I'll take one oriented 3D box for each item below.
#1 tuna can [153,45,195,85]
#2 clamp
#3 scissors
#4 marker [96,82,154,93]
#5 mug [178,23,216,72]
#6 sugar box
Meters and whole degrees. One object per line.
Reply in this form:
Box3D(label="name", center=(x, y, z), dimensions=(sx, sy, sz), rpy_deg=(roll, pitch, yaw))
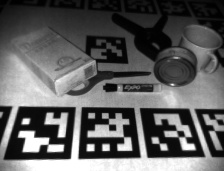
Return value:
Box3D(label="tuna can", center=(0.129, -0.041, 0.455), dimensions=(0.085, 0.086, 0.034), rpy_deg=(14, 51, 4))
Box3D(label="clamp", center=(0.089, -0.133, 0.567), dimensions=(0.166, 0.037, 0.201), rpy_deg=(-7, 54, -13))
Box3D(label="scissors", center=(-0.020, -0.030, 0.465), dimensions=(0.204, 0.016, 0.087), rpy_deg=(-7, 49, -15))
Box3D(label="marker", center=(0.027, 0.005, 0.447), dimensions=(0.121, 0.020, 0.019), rpy_deg=(-2, 53, -9))
Box3D(label="mug", center=(0.186, -0.079, 0.499), dimensions=(0.094, 0.082, 0.116), rpy_deg=(-22, 54, -23))
Box3D(label="sugar box", center=(-0.126, -0.060, 0.454), dimensions=(0.093, 0.045, 0.174), rpy_deg=(-31, 55, -28))
